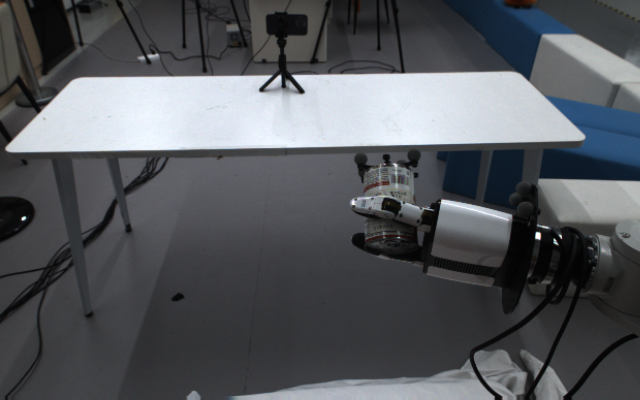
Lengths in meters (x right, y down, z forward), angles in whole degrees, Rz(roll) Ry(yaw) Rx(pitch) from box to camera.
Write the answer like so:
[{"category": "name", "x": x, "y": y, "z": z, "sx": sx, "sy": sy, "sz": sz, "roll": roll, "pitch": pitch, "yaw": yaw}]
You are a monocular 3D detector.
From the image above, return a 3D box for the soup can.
[{"category": "soup can", "x": 0.091, "y": 0.012, "z": 0.620, "sx": 0.067, "sy": 0.067, "sz": 0.101, "roll": 2, "pitch": 68, "yaw": -1}]
